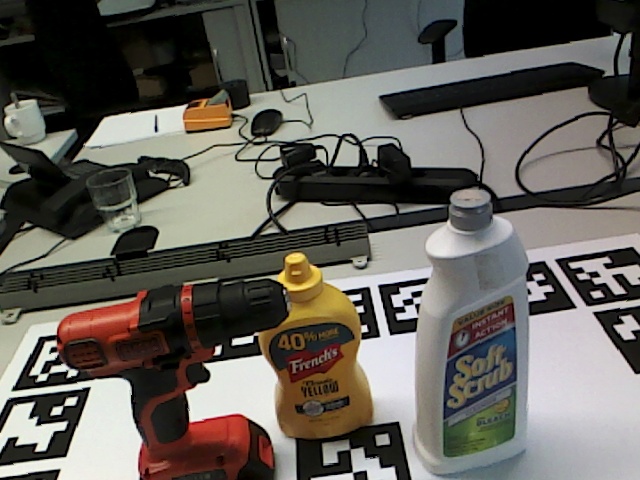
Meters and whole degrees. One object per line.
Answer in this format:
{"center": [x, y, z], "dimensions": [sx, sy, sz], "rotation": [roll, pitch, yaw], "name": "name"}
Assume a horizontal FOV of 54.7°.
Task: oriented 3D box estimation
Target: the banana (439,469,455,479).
{"center": [0.015, 0.229, 0.495], "dimensions": [0.197, 0.038, 0.074], "rotation": [-8, 35, 5], "name": "banana"}

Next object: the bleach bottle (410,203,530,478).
{"center": [0.121, 0.086, 0.515], "dimensions": [0.102, 0.250, 0.068], "rotation": [-13, 32, -6], "name": "bleach bottle"}

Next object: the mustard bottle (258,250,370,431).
{"center": [-0.007, 0.093, 0.580], "dimensions": [0.096, 0.191, 0.058], "rotation": [-7, 30, 1], "name": "mustard bottle"}

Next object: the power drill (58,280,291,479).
{"center": [-0.107, 0.124, 0.522], "dimensions": [0.184, 0.186, 0.057], "rotation": [-8, 24, -2], "name": "power drill"}
